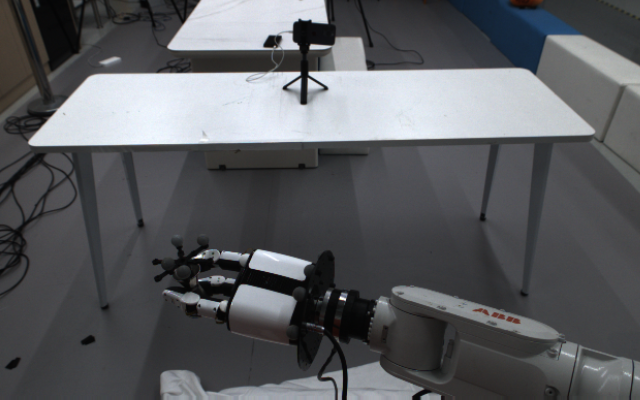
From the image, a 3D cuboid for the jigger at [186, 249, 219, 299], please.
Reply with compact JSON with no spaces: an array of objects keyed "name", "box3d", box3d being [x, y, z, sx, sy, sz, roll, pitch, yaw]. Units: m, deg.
[{"name":"jigger","box3d":[-0.176,0.124,0.687,0.043,0.071,0.043,-8,31,5]}]
